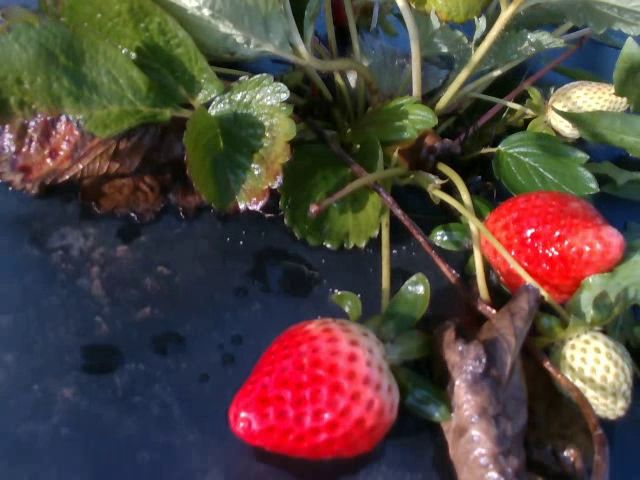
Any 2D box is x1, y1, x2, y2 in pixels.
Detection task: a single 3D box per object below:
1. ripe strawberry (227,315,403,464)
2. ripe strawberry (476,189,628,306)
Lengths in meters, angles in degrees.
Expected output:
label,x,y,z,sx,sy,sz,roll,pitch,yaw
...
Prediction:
label,x,y,z,sx,sy,sz,roll,pitch,yaw
ripe strawberry,-0.002,0.032,0.141,0.043,0.030,0.035,-22,43,-36
ripe strawberry,0.068,-0.002,0.187,0.039,0.032,0.048,-9,-4,-15
